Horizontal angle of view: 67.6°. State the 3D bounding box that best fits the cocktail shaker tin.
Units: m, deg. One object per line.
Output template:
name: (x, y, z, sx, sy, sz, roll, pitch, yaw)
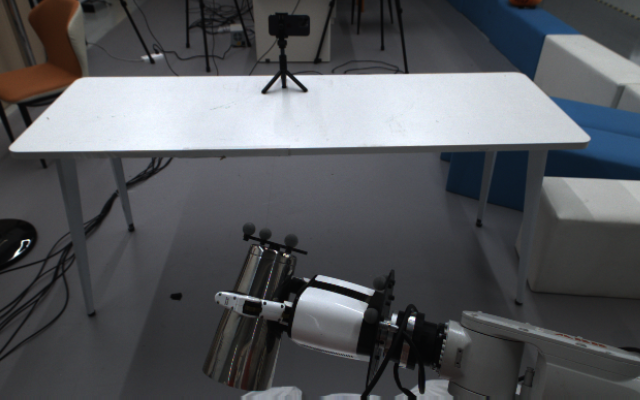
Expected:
cocktail shaker tin: (-0.085, 0.149, 0.636, 0.093, 0.170, 0.093, 15, -6, 2)
